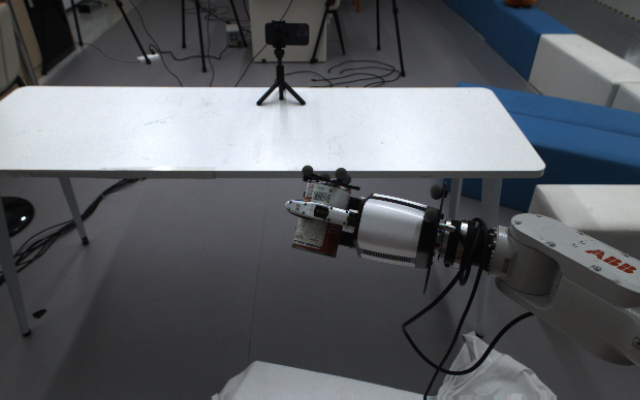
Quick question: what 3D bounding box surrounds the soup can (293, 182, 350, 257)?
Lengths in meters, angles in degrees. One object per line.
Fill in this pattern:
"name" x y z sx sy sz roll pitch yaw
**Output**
"soup can" 0.004 0.029 0.710 0.067 0.101 0.067 13 -6 1
